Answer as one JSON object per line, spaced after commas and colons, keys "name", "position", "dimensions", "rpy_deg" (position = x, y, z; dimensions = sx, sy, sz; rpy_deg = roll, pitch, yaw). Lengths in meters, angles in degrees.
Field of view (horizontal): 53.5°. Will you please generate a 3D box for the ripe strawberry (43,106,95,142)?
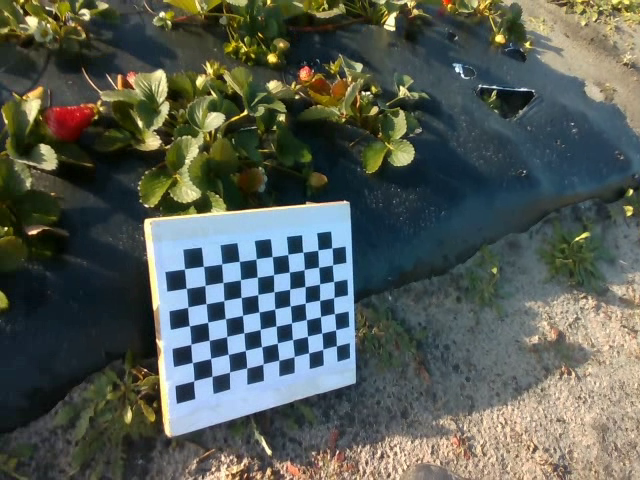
{"name": "ripe strawberry", "position": [-0.315, -0.152, 0.800], "dimensions": [0.072, 0.057, 0.055], "rpy_deg": [-31, 24, -16]}
